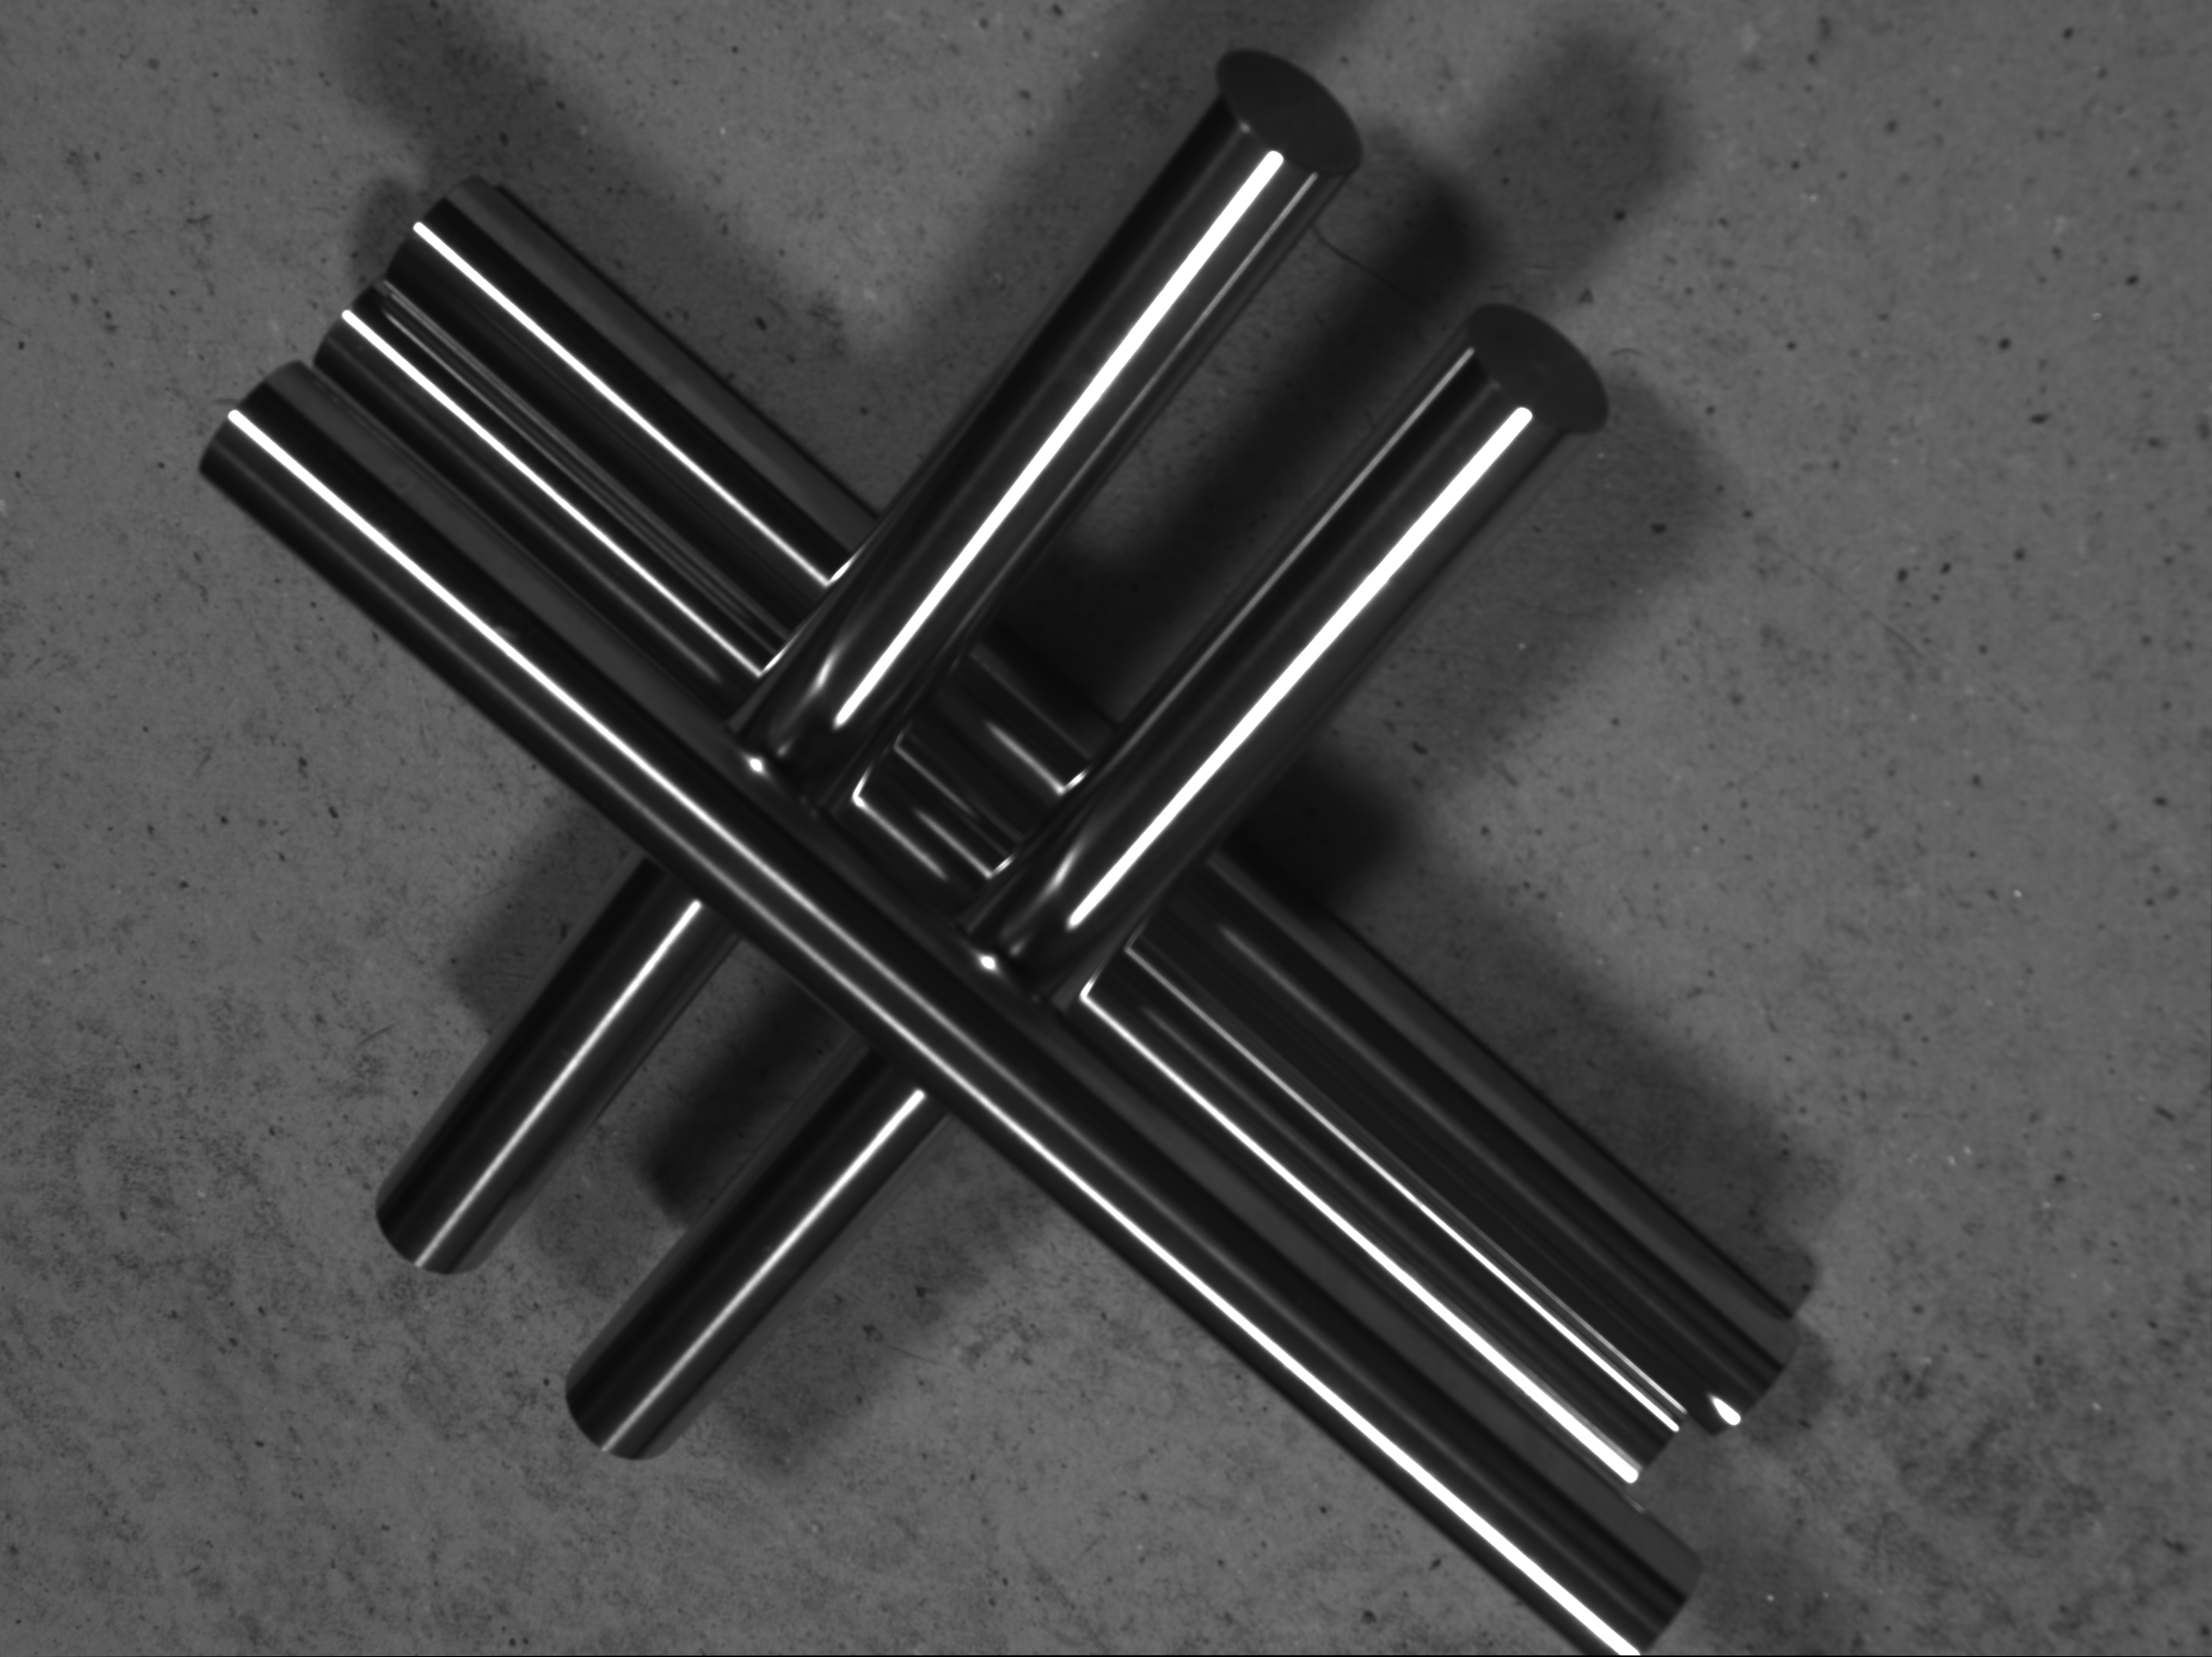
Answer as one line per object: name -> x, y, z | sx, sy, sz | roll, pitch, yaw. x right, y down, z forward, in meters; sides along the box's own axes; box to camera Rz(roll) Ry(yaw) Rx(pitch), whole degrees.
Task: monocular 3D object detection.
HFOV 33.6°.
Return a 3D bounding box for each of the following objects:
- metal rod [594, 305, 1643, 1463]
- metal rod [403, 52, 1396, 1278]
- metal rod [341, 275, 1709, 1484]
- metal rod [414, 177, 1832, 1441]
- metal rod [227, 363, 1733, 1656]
metal rod -> -0.011, 0.023, 0.618 | 0.025, 0.025, 0.300 | 41, 128, -1
metal rod -> -0.047, -0.013, 0.615 | 0.025, 0.025, 0.300 | 41, 128, -1
metal rod -> -0.012, 0.010, 0.643 | 0.300, 0.025, 0.025 | 41, 128, -1
metal rod -> 0.003, -0.003, 0.628 | 0.300, 0.025, 0.025 | 41, 128, -1
metal rod -> -0.020, 0.031, 0.596 | 0.300, 0.025, 0.025 | 40, 128, -1
